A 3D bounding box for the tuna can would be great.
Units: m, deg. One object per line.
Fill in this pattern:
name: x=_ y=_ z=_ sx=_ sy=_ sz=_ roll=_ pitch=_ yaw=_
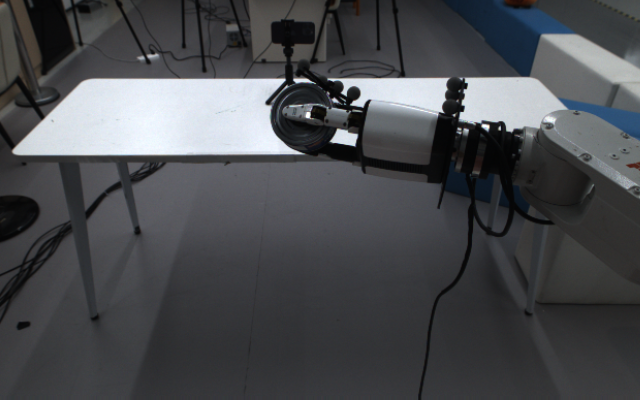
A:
tuna can: x=-0.019 y=-0.109 z=0.630 sx=0.085 sy=0.085 sz=0.034 roll=13 pitch=-4 yaw=15
